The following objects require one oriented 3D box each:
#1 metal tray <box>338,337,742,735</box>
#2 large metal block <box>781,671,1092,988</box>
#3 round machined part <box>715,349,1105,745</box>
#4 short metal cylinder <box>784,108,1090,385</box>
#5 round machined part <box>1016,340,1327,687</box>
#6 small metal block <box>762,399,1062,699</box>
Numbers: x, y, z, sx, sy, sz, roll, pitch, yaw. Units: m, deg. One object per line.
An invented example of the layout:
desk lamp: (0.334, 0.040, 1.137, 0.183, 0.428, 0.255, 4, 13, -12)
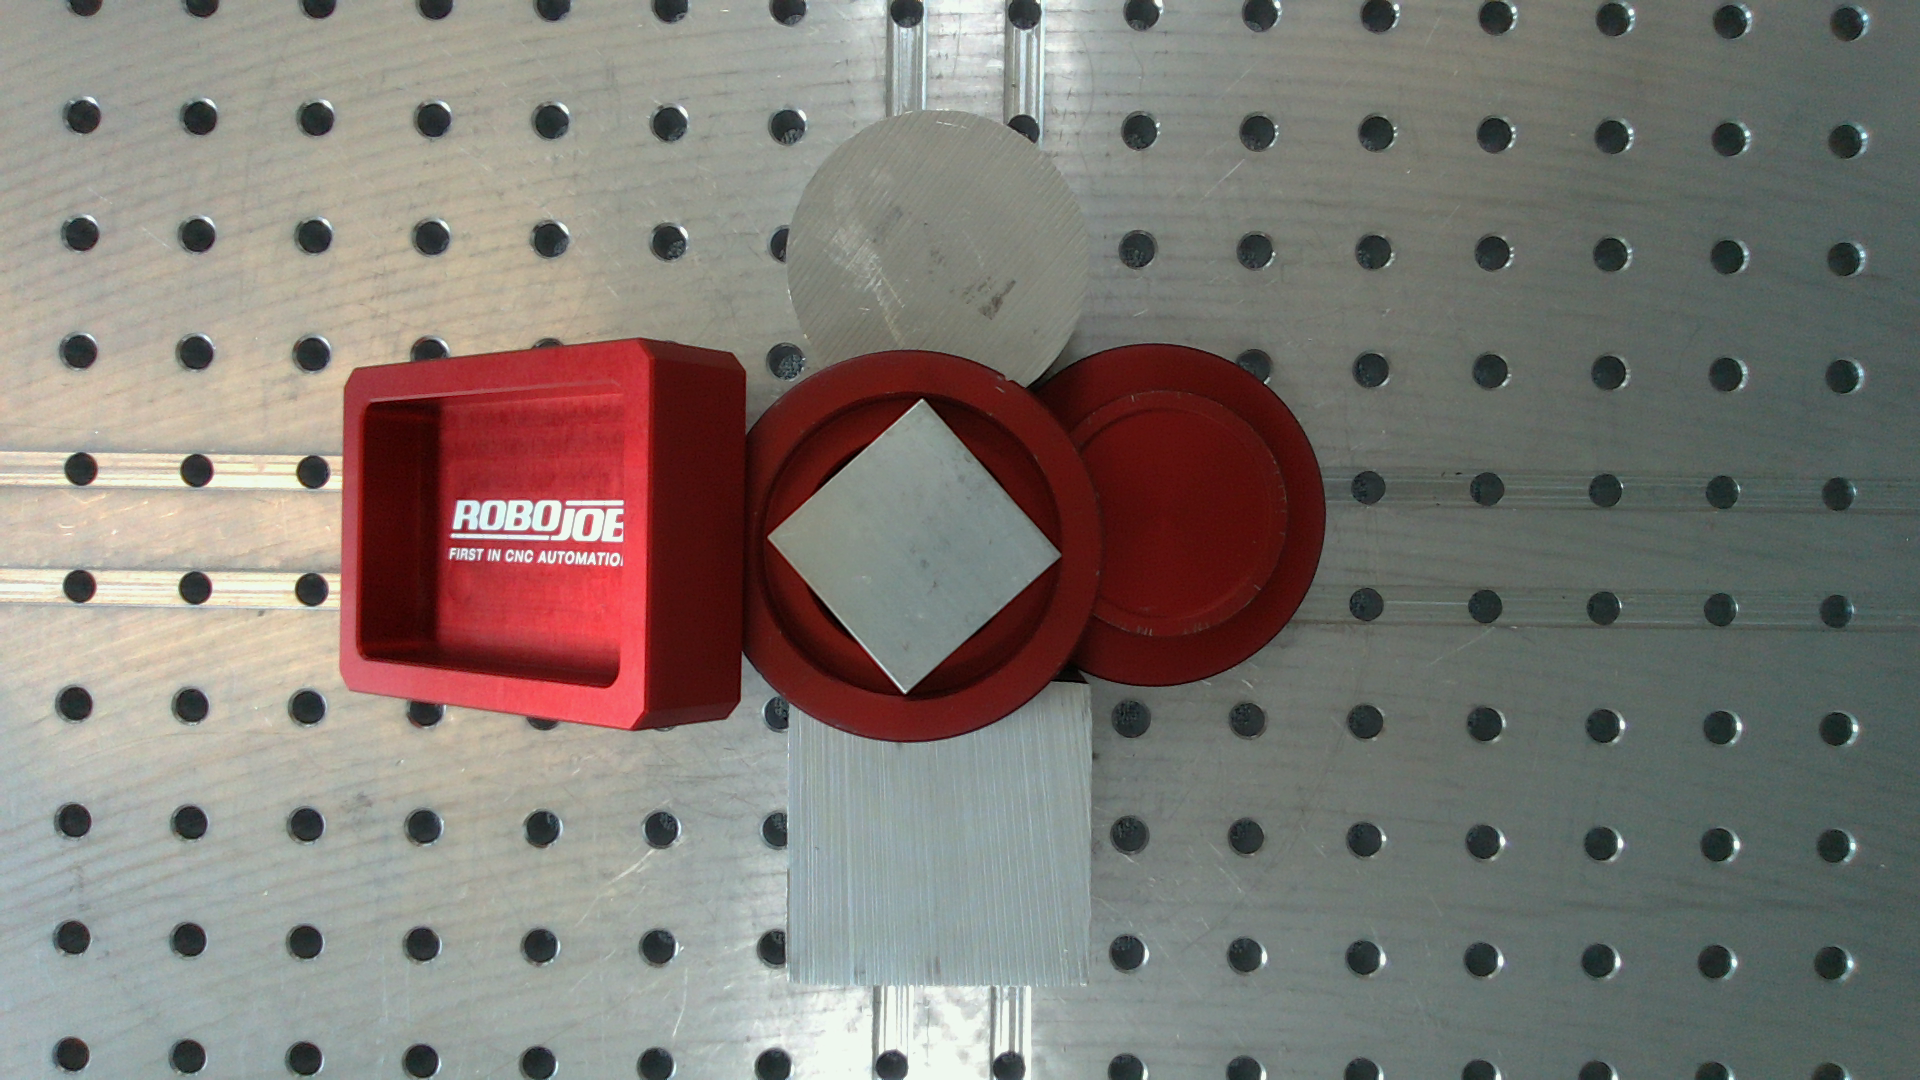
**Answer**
metal tray: (-0.113, -0.002, 0.358, 0.129, 0.030, 0.090, 1, 90, 37)
large metal block: (-0.006, 0.076, 0.382, 0.080, 0.050, 0.080, 1, 90, 0)
round machined part: (-0.013, 0.002, 0.360, 0.098, 0.042, 0.098, 0, 90, 0)
short metal cylinder: (-0.006, -0.073, 0.384, 0.080, 0.050, 0.080, 0, 90, 0)
round machined part: (0.055, -0.007, 0.388, 0.098, 0.042, 0.098, 0, 90, 0)
small metal block: (-0.011, 0.002, 0.336, 0.050, 0.025, 0.050, -42, 90, 0)
